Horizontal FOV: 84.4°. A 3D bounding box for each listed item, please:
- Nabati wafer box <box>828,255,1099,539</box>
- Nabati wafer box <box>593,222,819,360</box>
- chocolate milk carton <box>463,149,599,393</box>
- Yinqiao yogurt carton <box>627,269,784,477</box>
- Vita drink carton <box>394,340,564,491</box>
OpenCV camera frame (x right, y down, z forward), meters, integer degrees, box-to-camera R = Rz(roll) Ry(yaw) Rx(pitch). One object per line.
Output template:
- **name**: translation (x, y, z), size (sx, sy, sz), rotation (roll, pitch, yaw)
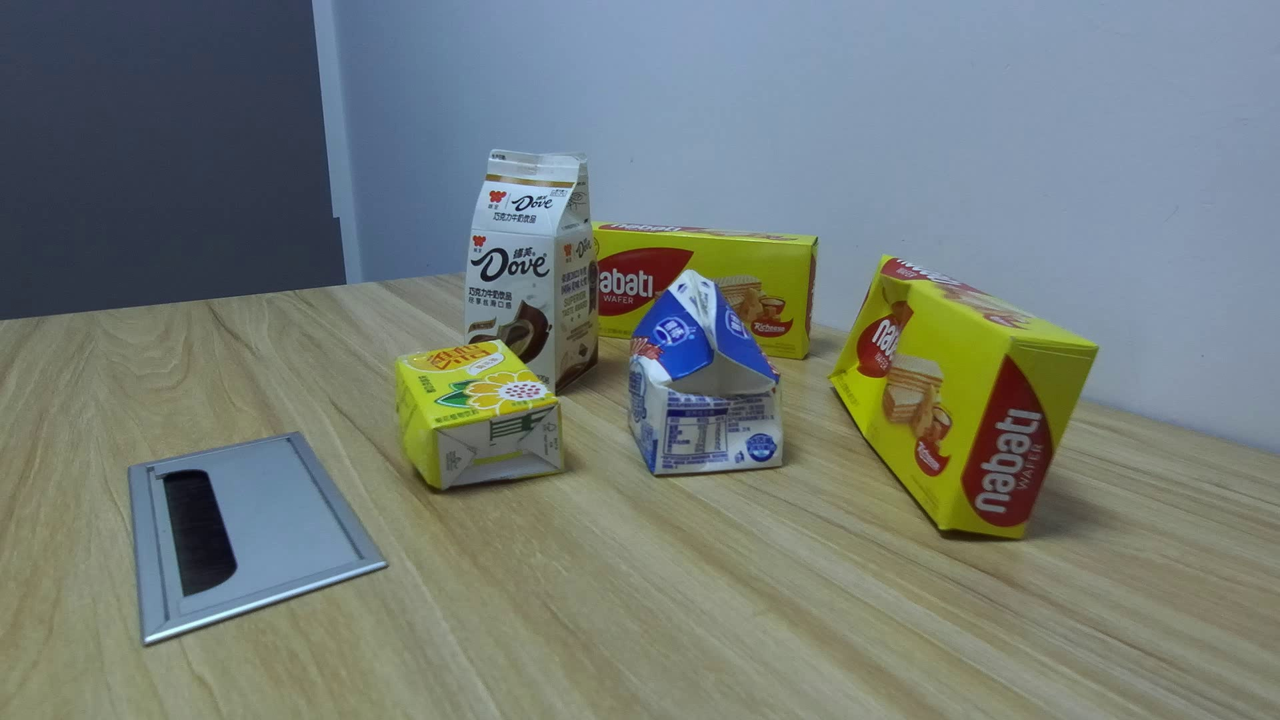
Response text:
- **Nabati wafer box**: translation (0.161, 0.004, 0.400), size (0.042, 0.096, 0.203), rotation (9, 19, -5)
- **Nabati wafer box**: translation (0.043, -0.059, 0.584), size (0.202, 0.093, 0.042), rotation (7, 14, 20)
- **chocolate milk carton**: translation (-0.076, -0.064, 0.488), size (0.084, 0.155, 0.073), rotation (8, 21, 20)
- **Yinqiao yogurt carton**: translation (0.035, 0.003, 0.389), size (0.077, 0.093, 0.083), rotation (-2, 19, -11)
- **Vita drink carton**: translation (-0.095, 0.029, 0.390), size (0.077, 0.043, 0.108), rotation (-12, 24, -24)
